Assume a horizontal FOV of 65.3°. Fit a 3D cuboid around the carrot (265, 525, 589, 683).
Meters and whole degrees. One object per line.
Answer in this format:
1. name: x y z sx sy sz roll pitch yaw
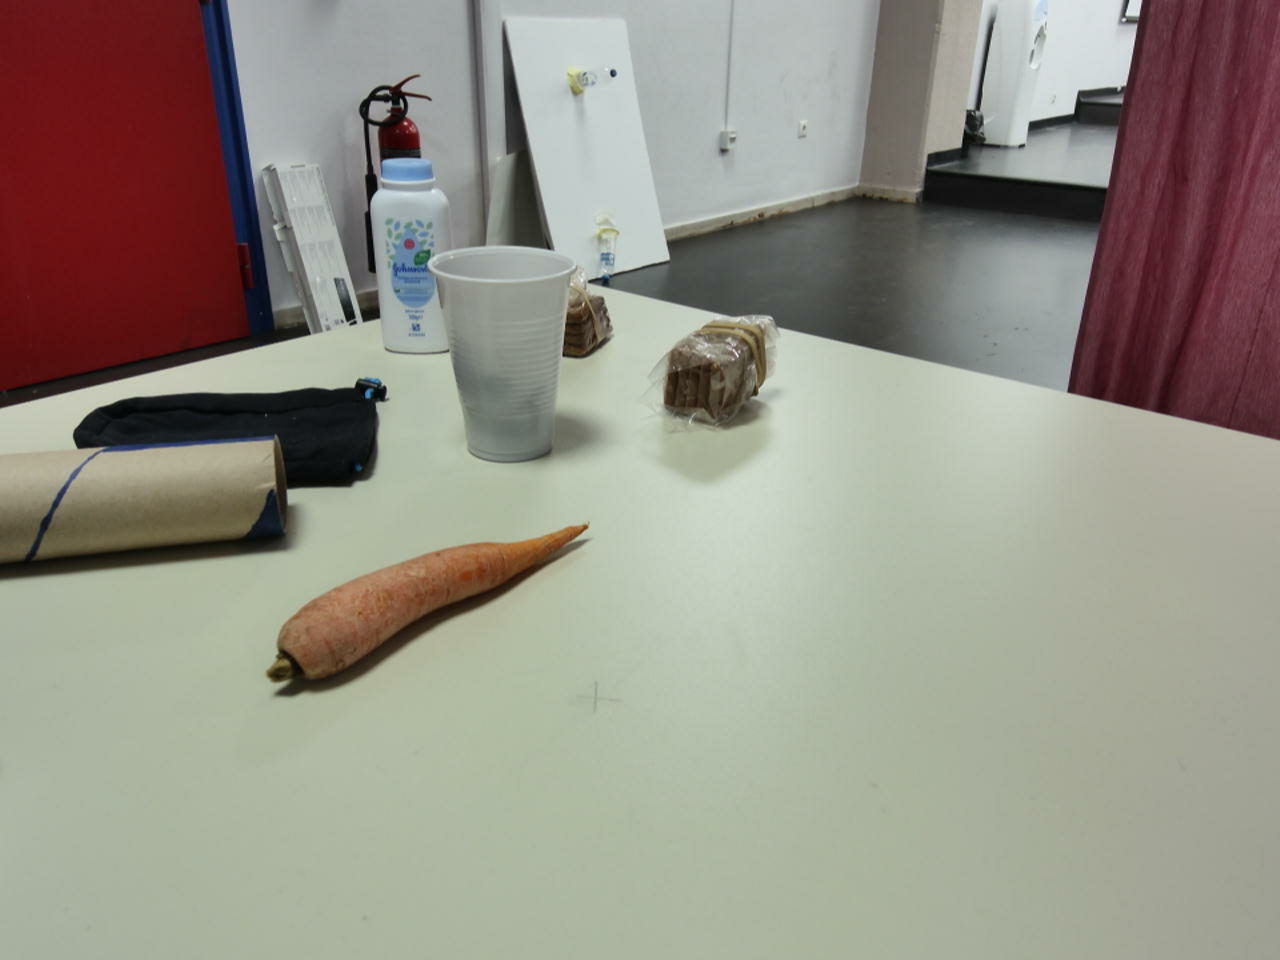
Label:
1. carrot: -0.083 0.041 0.417 0.031 0.029 0.163 18 29 36
